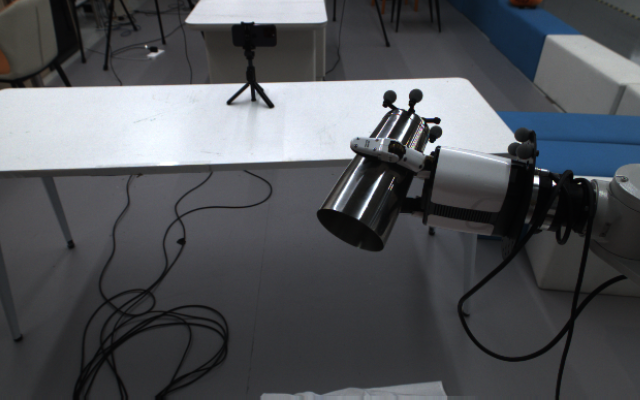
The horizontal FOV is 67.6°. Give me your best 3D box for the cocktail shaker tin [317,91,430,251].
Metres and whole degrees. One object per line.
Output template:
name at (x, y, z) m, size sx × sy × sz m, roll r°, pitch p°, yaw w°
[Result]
cocktail shaker tin at (0.078, -0.035, 0.613) m, size 0.093 × 0.093 × 0.170 m, roll 20°, pitch 67°, yaw 24°
